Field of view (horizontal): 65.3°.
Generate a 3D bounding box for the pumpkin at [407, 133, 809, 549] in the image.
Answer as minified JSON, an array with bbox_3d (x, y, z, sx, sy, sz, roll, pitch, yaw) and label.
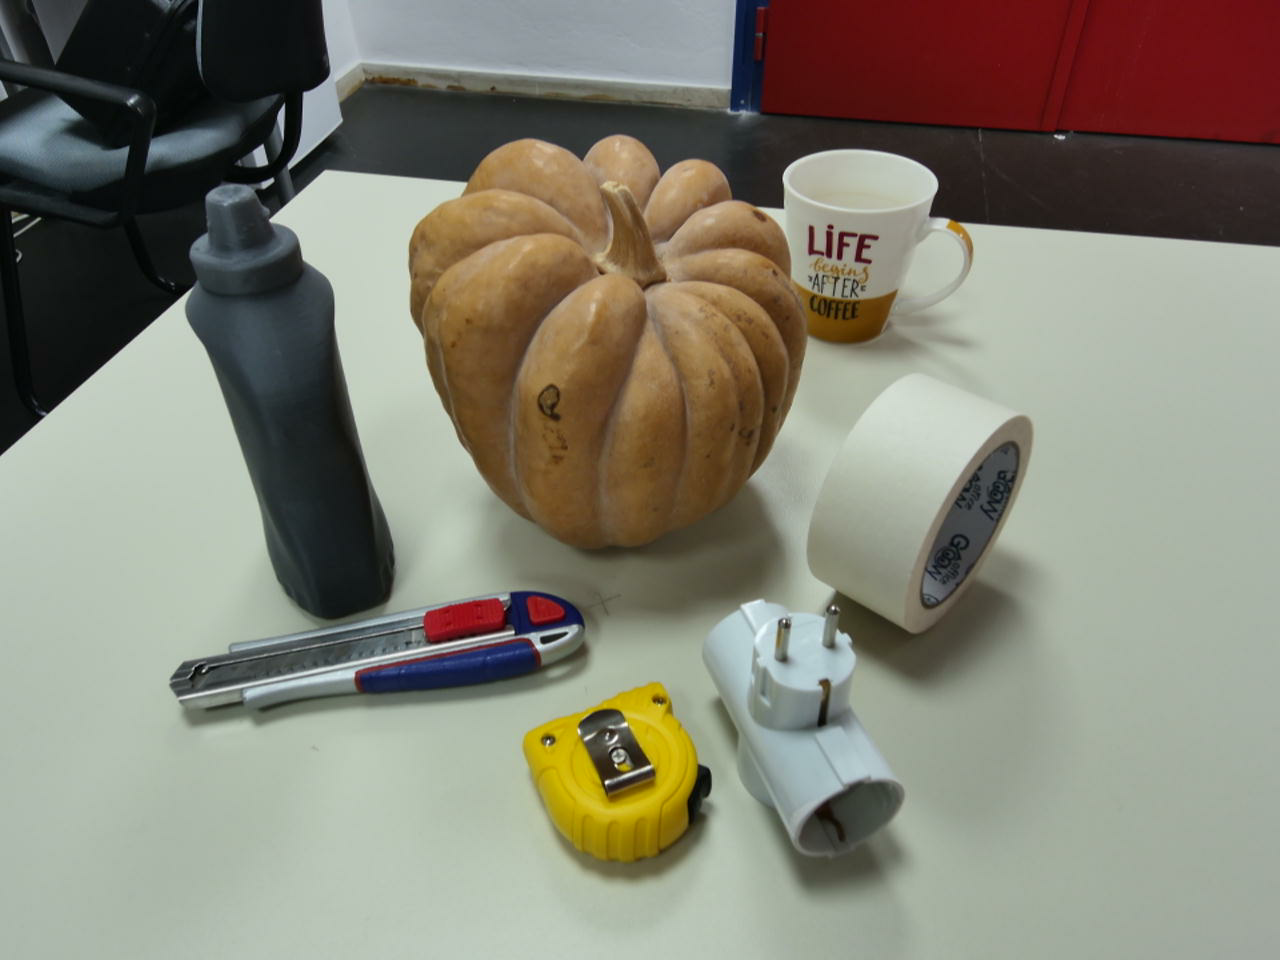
[{"bbox_3d":[-0.015,-0.066,0.487,0.199,0.177,0.198,0,39,0],"label":"pumpkin"}]
